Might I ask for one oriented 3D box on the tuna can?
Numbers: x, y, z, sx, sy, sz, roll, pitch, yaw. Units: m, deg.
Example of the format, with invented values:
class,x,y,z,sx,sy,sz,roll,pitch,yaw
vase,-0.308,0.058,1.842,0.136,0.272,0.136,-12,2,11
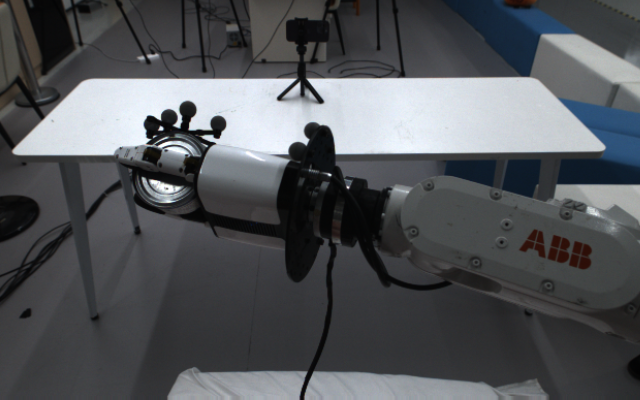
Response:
class,x,y,z,sx,sy,sz,roll,pitch,yaw
tuna can,-0.154,-0.029,0.523,0.085,0.034,0.085,-3,73,10
